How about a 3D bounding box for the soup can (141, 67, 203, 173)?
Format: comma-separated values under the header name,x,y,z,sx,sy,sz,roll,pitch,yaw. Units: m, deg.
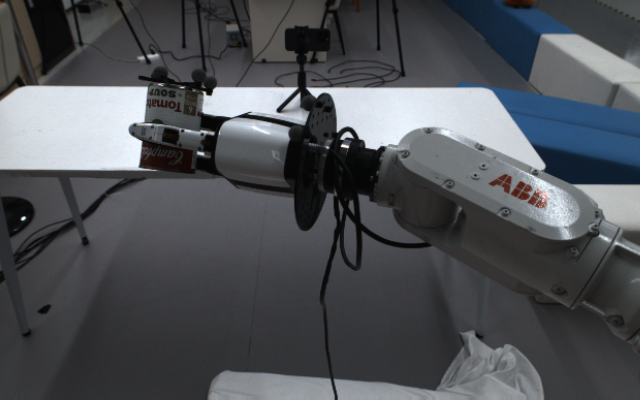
name,x,y,z,sx,sy,sz,roll,pitch,yaw
soup can,-0.182,-0.085,0.597,0.067,0.101,0.067,7,3,0
